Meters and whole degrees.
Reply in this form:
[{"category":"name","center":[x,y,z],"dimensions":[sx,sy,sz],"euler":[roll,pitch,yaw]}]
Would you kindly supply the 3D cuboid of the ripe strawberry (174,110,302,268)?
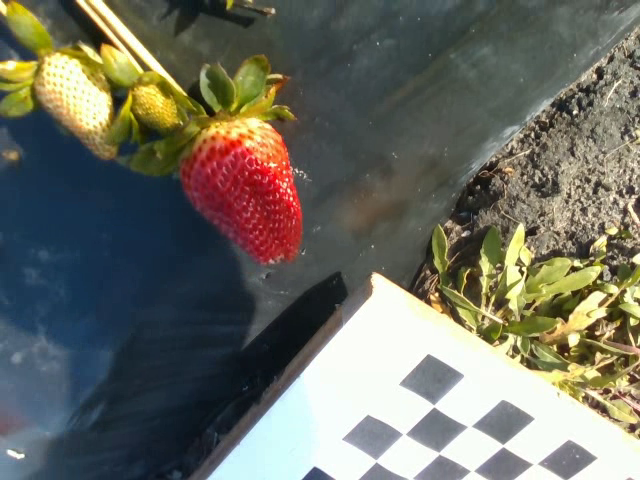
[{"category":"ripe strawberry","center":[-0.024,-0.014,0.207],"dimensions":[0.042,0.059,0.042],"euler":[-30,14,11]}]
